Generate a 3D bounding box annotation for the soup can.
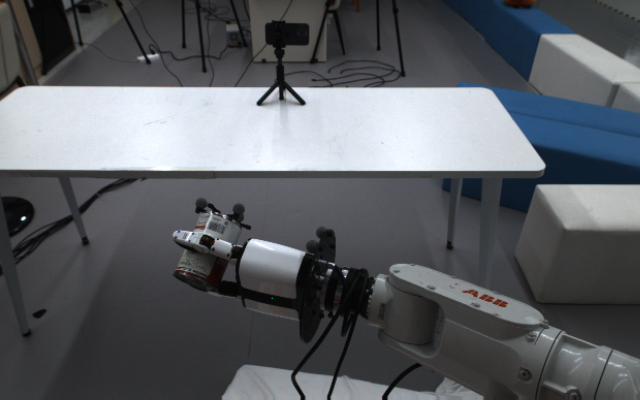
[{"bbox_3d":[-0.163,0.078,0.712,0.067,0.067,0.101,12,66,14],"label":"soup can"}]
